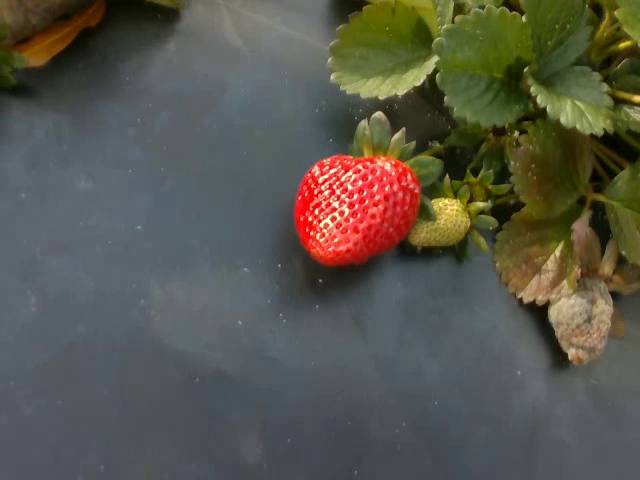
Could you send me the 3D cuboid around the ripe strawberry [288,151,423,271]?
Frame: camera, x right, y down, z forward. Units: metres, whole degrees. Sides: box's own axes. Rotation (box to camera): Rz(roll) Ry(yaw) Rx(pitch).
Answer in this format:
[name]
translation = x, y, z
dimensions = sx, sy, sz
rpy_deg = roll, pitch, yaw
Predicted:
[ripe strawberry]
translation = 0.010, -0.008, 0.202
dimensions = 0.045, 0.058, 0.051
rpy_deg = 33, -45, -2
